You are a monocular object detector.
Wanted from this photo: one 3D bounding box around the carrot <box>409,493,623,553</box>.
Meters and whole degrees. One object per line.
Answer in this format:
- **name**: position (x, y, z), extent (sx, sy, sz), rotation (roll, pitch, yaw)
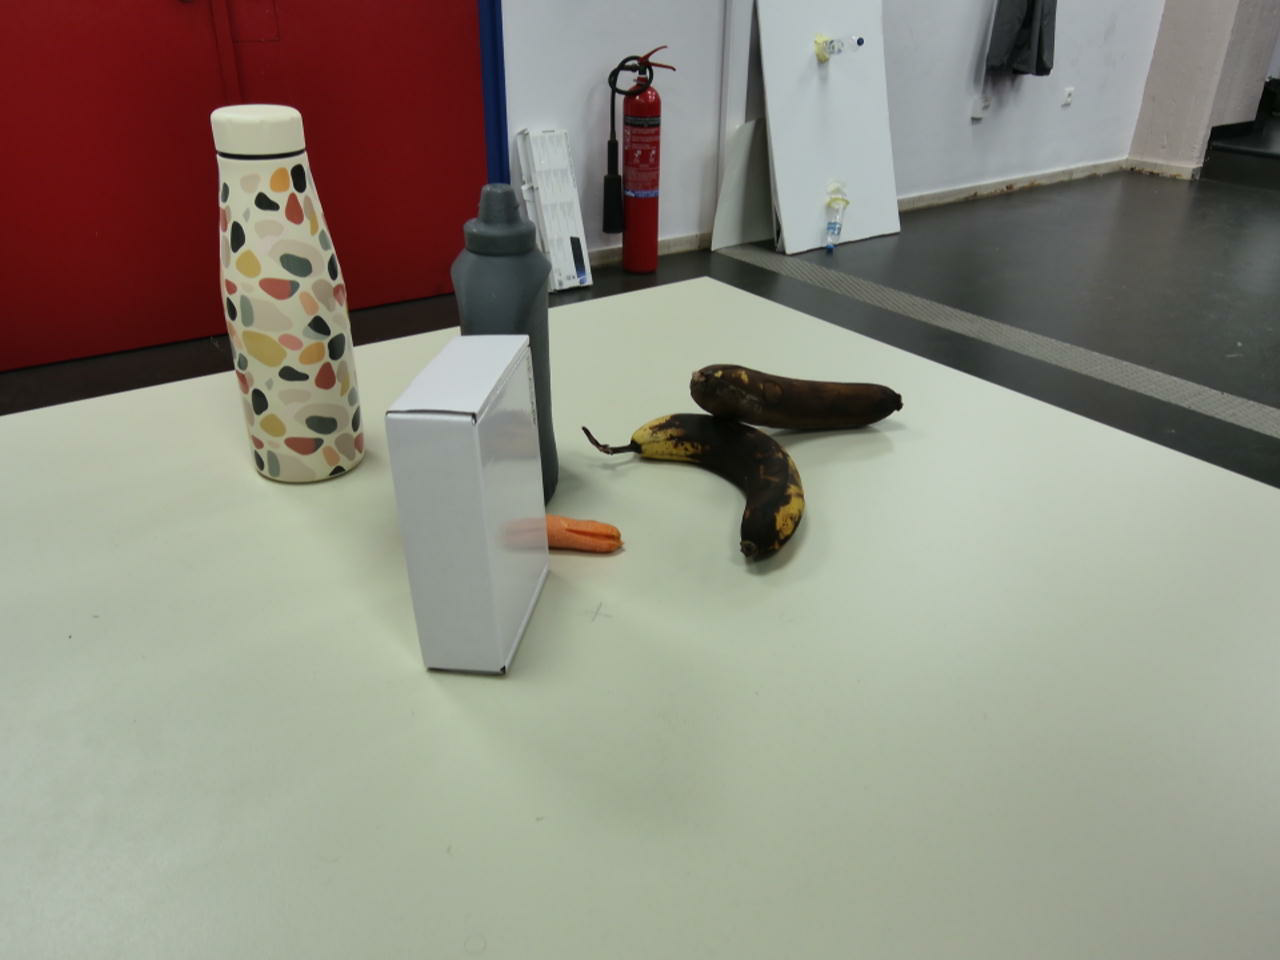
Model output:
- **carrot**: position (-0.078, 0.027, 0.622), extent (0.136, 0.032, 0.030), rotation (4, 26, 8)
